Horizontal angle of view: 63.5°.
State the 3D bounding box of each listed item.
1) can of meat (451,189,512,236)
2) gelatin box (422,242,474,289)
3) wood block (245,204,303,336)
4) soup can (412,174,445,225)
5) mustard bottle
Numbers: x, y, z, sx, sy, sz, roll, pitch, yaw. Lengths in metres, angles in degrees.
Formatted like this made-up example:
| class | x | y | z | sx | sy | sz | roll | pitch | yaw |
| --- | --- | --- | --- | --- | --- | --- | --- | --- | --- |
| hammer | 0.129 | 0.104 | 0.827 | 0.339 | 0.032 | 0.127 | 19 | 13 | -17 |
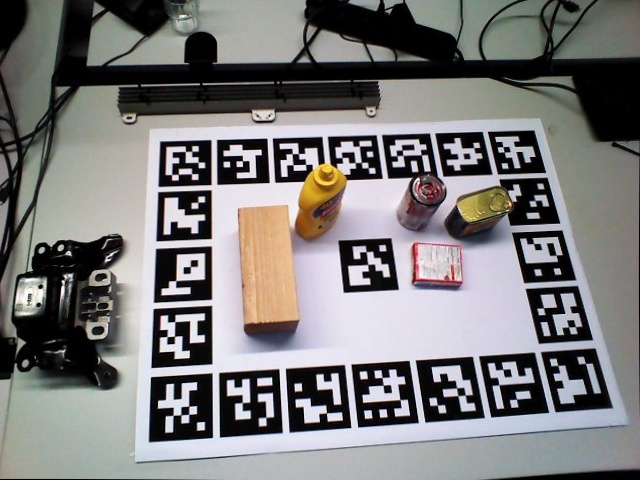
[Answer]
| class | x | y | z | sx | sy | sz | roll | pitch | yaw |
| --- | --- | --- | --- | --- | --- | --- | --- | --- | --- |
| can of meat | 0.301 | -0.053 | 0.951 | 0.102 | 0.084 | 0.057 | -16 | 71 | -13 |
| gelatin box | 0.231 | 0.046 | 0.930 | 0.089 | 0.030 | 0.073 | 6 | 70 | 1 |
| wood block | -0.079 | 0.049 | 0.879 | 0.091 | 0.090 | 0.205 | -2 | 64 | -7 |
| soup can | 0.203 | -0.075 | 0.933 | 0.068 | 0.102 | 0.067 | 1 | 69 | -3 |
| mustard bottle | 0.013 | -0.071 | 0.884 | 0.096 | 0.192 | 0.058 | -27 | 72 | -16 |
